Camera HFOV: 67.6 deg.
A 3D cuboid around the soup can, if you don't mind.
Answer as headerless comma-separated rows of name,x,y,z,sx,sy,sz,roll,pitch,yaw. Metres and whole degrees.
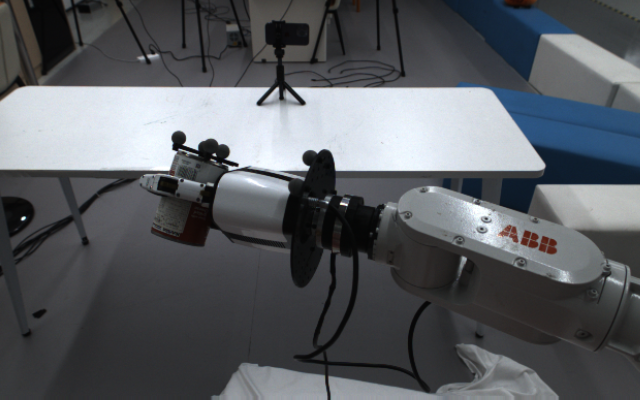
soup can,-0.156,-0.001,0.585,0.067,0.101,0.067,17,-1,0
